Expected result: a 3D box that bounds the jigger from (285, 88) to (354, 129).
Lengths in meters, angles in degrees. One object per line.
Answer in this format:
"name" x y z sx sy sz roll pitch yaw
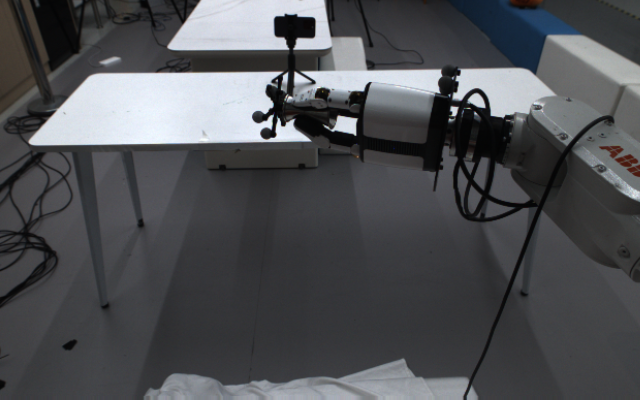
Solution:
"jigger" -0.008 -0.130 0.672 0.071 0.043 0.043 10 35 16
